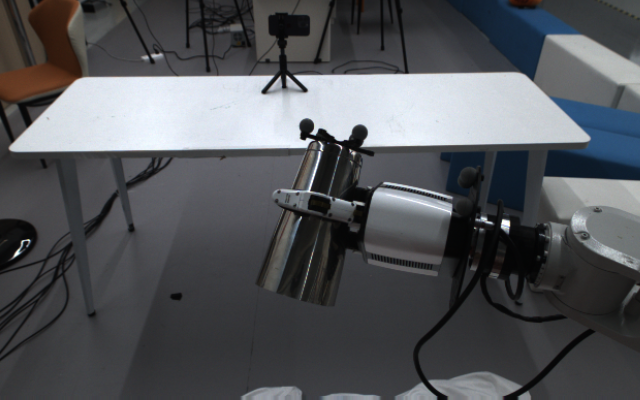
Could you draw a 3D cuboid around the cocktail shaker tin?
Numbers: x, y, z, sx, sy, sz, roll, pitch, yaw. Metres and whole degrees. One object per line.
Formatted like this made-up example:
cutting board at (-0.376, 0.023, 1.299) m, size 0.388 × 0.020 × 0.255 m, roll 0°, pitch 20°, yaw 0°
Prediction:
cocktail shaker tin at (-0.005, 0.025, 0.549) m, size 0.093 × 0.170 × 0.093 m, roll 15°, pitch -6°, yaw 2°
